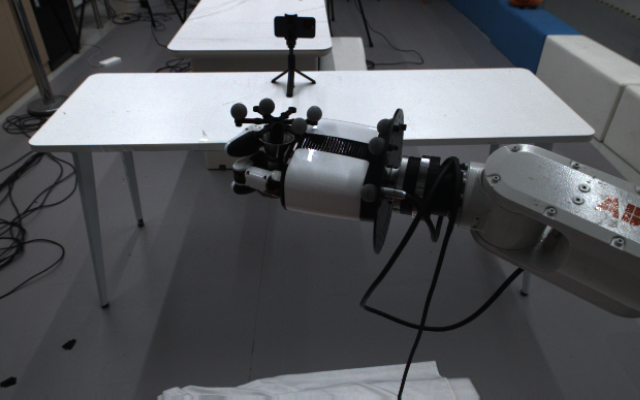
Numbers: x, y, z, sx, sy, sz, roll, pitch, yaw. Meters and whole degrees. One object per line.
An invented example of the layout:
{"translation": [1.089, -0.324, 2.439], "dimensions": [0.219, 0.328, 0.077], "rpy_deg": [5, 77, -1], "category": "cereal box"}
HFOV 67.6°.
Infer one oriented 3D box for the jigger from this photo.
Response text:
{"translation": [-0.047, -0.043, 0.557], "dimensions": [0.043, 0.071, 0.043], "rpy_deg": [4, 31, -2], "category": "jigger"}
